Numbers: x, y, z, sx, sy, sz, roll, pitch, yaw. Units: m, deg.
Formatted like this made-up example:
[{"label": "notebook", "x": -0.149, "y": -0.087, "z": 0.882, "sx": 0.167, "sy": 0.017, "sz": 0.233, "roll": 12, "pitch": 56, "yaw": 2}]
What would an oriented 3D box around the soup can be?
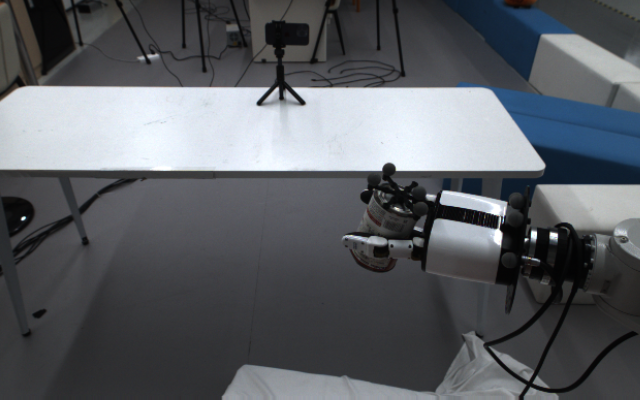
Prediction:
[{"label": "soup can", "x": 0.088, "y": 0.037, "z": 0.641, "sx": 0.067, "sy": 0.101, "sz": 0.067, "roll": 13, "pitch": 35, "yaw": -9}]
